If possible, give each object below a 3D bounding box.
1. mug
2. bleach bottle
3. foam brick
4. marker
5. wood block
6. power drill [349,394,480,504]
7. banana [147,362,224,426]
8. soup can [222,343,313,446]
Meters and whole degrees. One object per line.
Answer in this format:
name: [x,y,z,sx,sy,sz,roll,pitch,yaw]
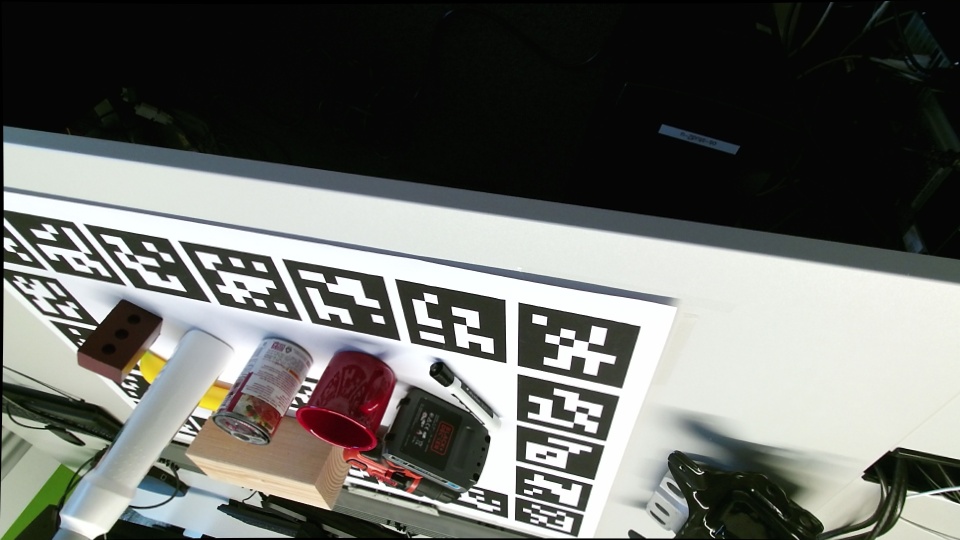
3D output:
mug: [-0.135,0.143,0.586,0.093,0.081,0.117,39,132,-17]
bleach bottle: [-0.379,0.195,0.610,0.068,0.250,0.103,27,139,-9]
foam brick: [-0.436,0.091,0.654,0.053,0.078,0.051,30,139,-13]
marker: [-0.014,0.132,0.580,0.020,0.019,0.121,-18,125,32]
wood block: [-0.300,0.279,0.789,0.207,0.090,0.090,7,135,14]
power drill: [-0.073,0.239,0.691,0.185,0.057,0.187,30,138,-6]
banana: [-0.379,0.191,0.760,0.198,0.039,0.074,20,124,3]
soup can: [-0.243,0.142,0.604,0.068,0.101,0.068,13,142,10]
